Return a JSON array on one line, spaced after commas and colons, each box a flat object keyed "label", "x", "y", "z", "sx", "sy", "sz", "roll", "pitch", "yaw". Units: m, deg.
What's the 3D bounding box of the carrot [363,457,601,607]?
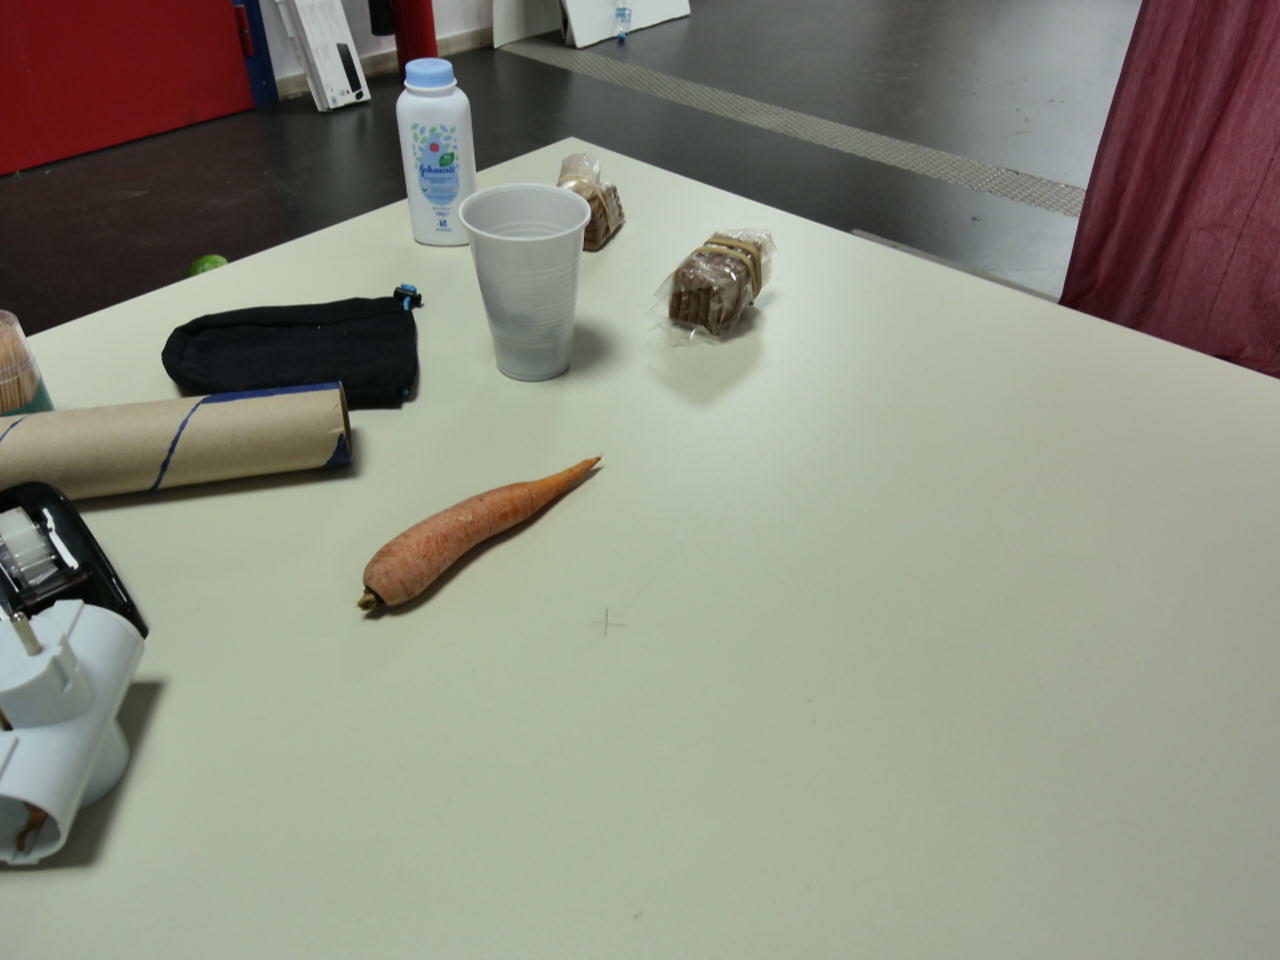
[{"label": "carrot", "x": -0.081, "y": 0.018, "z": 0.528, "sx": 0.031, "sy": 0.029, "sz": 0.163, "roll": 28, "pitch": 45, "yaw": 31}]
